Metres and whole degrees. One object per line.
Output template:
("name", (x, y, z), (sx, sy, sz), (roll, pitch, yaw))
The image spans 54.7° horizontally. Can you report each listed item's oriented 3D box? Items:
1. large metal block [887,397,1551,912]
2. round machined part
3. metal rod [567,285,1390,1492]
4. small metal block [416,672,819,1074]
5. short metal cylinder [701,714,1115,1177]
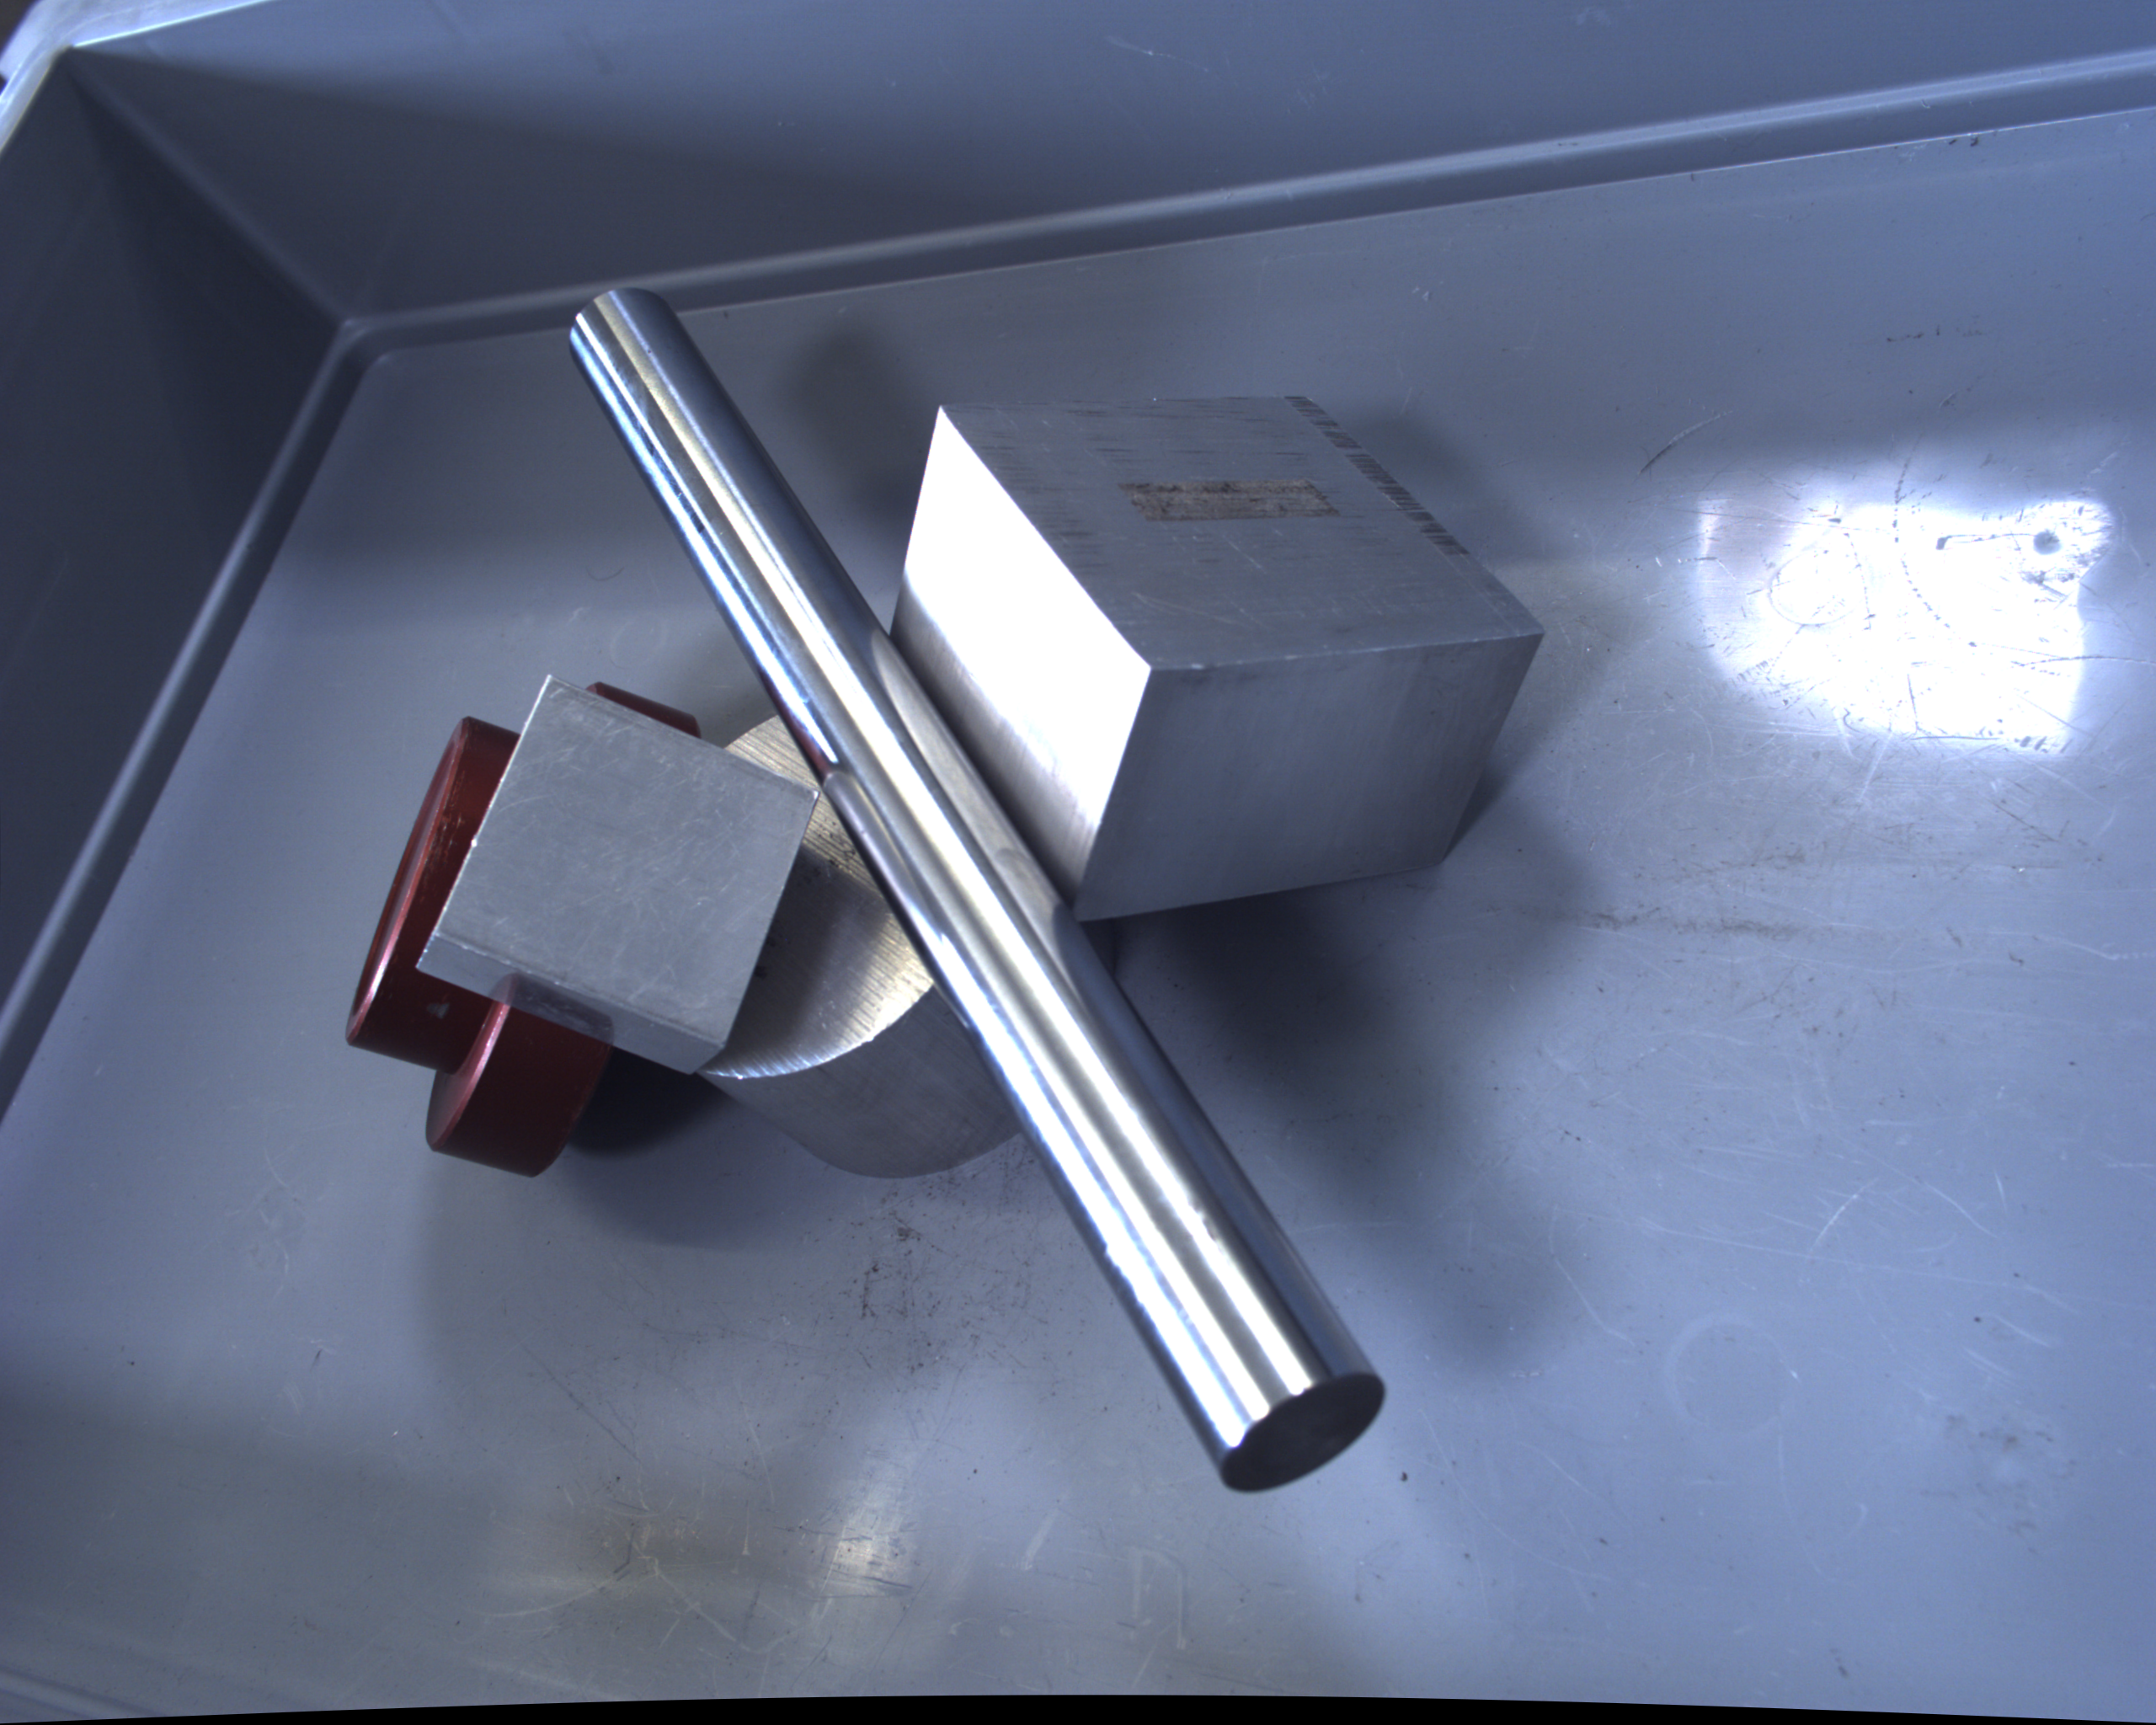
("large metal block", (0.021, -0.041, 0.373), (0.081, 0.050, 0.080), (-8, 44, -30))
("round machined part", (-0.113, 0.010, 0.413), (0.097, 0.042, 0.098), (-52, 27, 40))
("metal rod", (-0.035, -0.021, 0.370), (0.025, 0.025, 0.300), (-37, 51, 3))
("small metal block", (-0.079, 0.003, 0.360), (0.025, 0.050, 0.050), (-34, 35, 61))
("short metal cylinder", (-0.040, 0.014, 0.399), (0.080, 0.050, 0.080), (-13, 56, 21))
